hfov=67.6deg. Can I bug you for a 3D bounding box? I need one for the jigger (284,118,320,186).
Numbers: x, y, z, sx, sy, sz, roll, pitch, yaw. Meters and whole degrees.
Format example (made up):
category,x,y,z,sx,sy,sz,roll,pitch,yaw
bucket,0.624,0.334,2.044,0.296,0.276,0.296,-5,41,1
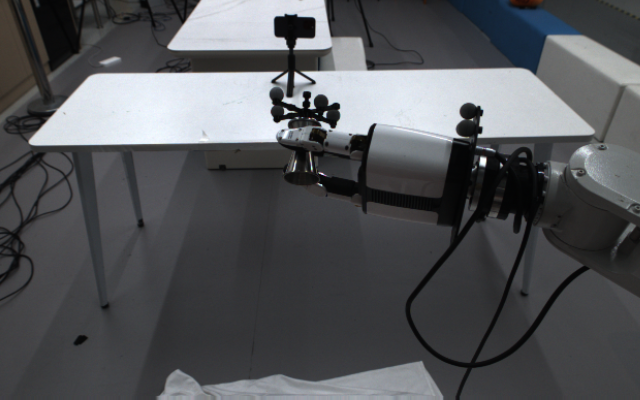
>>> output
category,x,y,z,sx,sy,sz,roll,pitch,yaw
jigger,-0.021,-0.057,0.561,0.043,0.043,0.071,3,72,1
